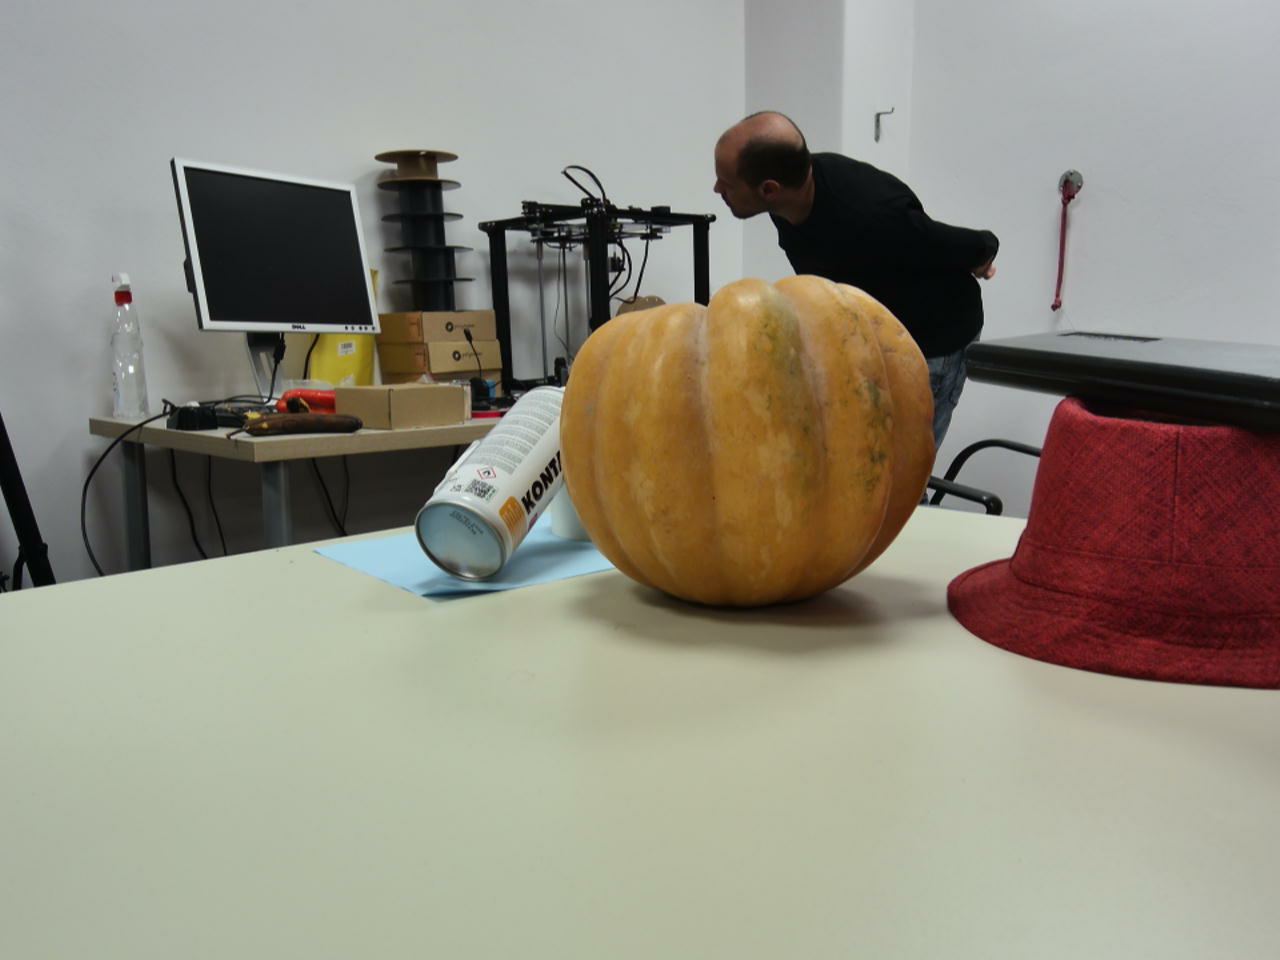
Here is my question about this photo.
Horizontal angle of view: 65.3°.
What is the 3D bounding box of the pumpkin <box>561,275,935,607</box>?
[{"bbox_3d":[0.063,-0.023,0.617,0.230,0.194,0.230,0,6,0],"label":"pumpkin"}]
